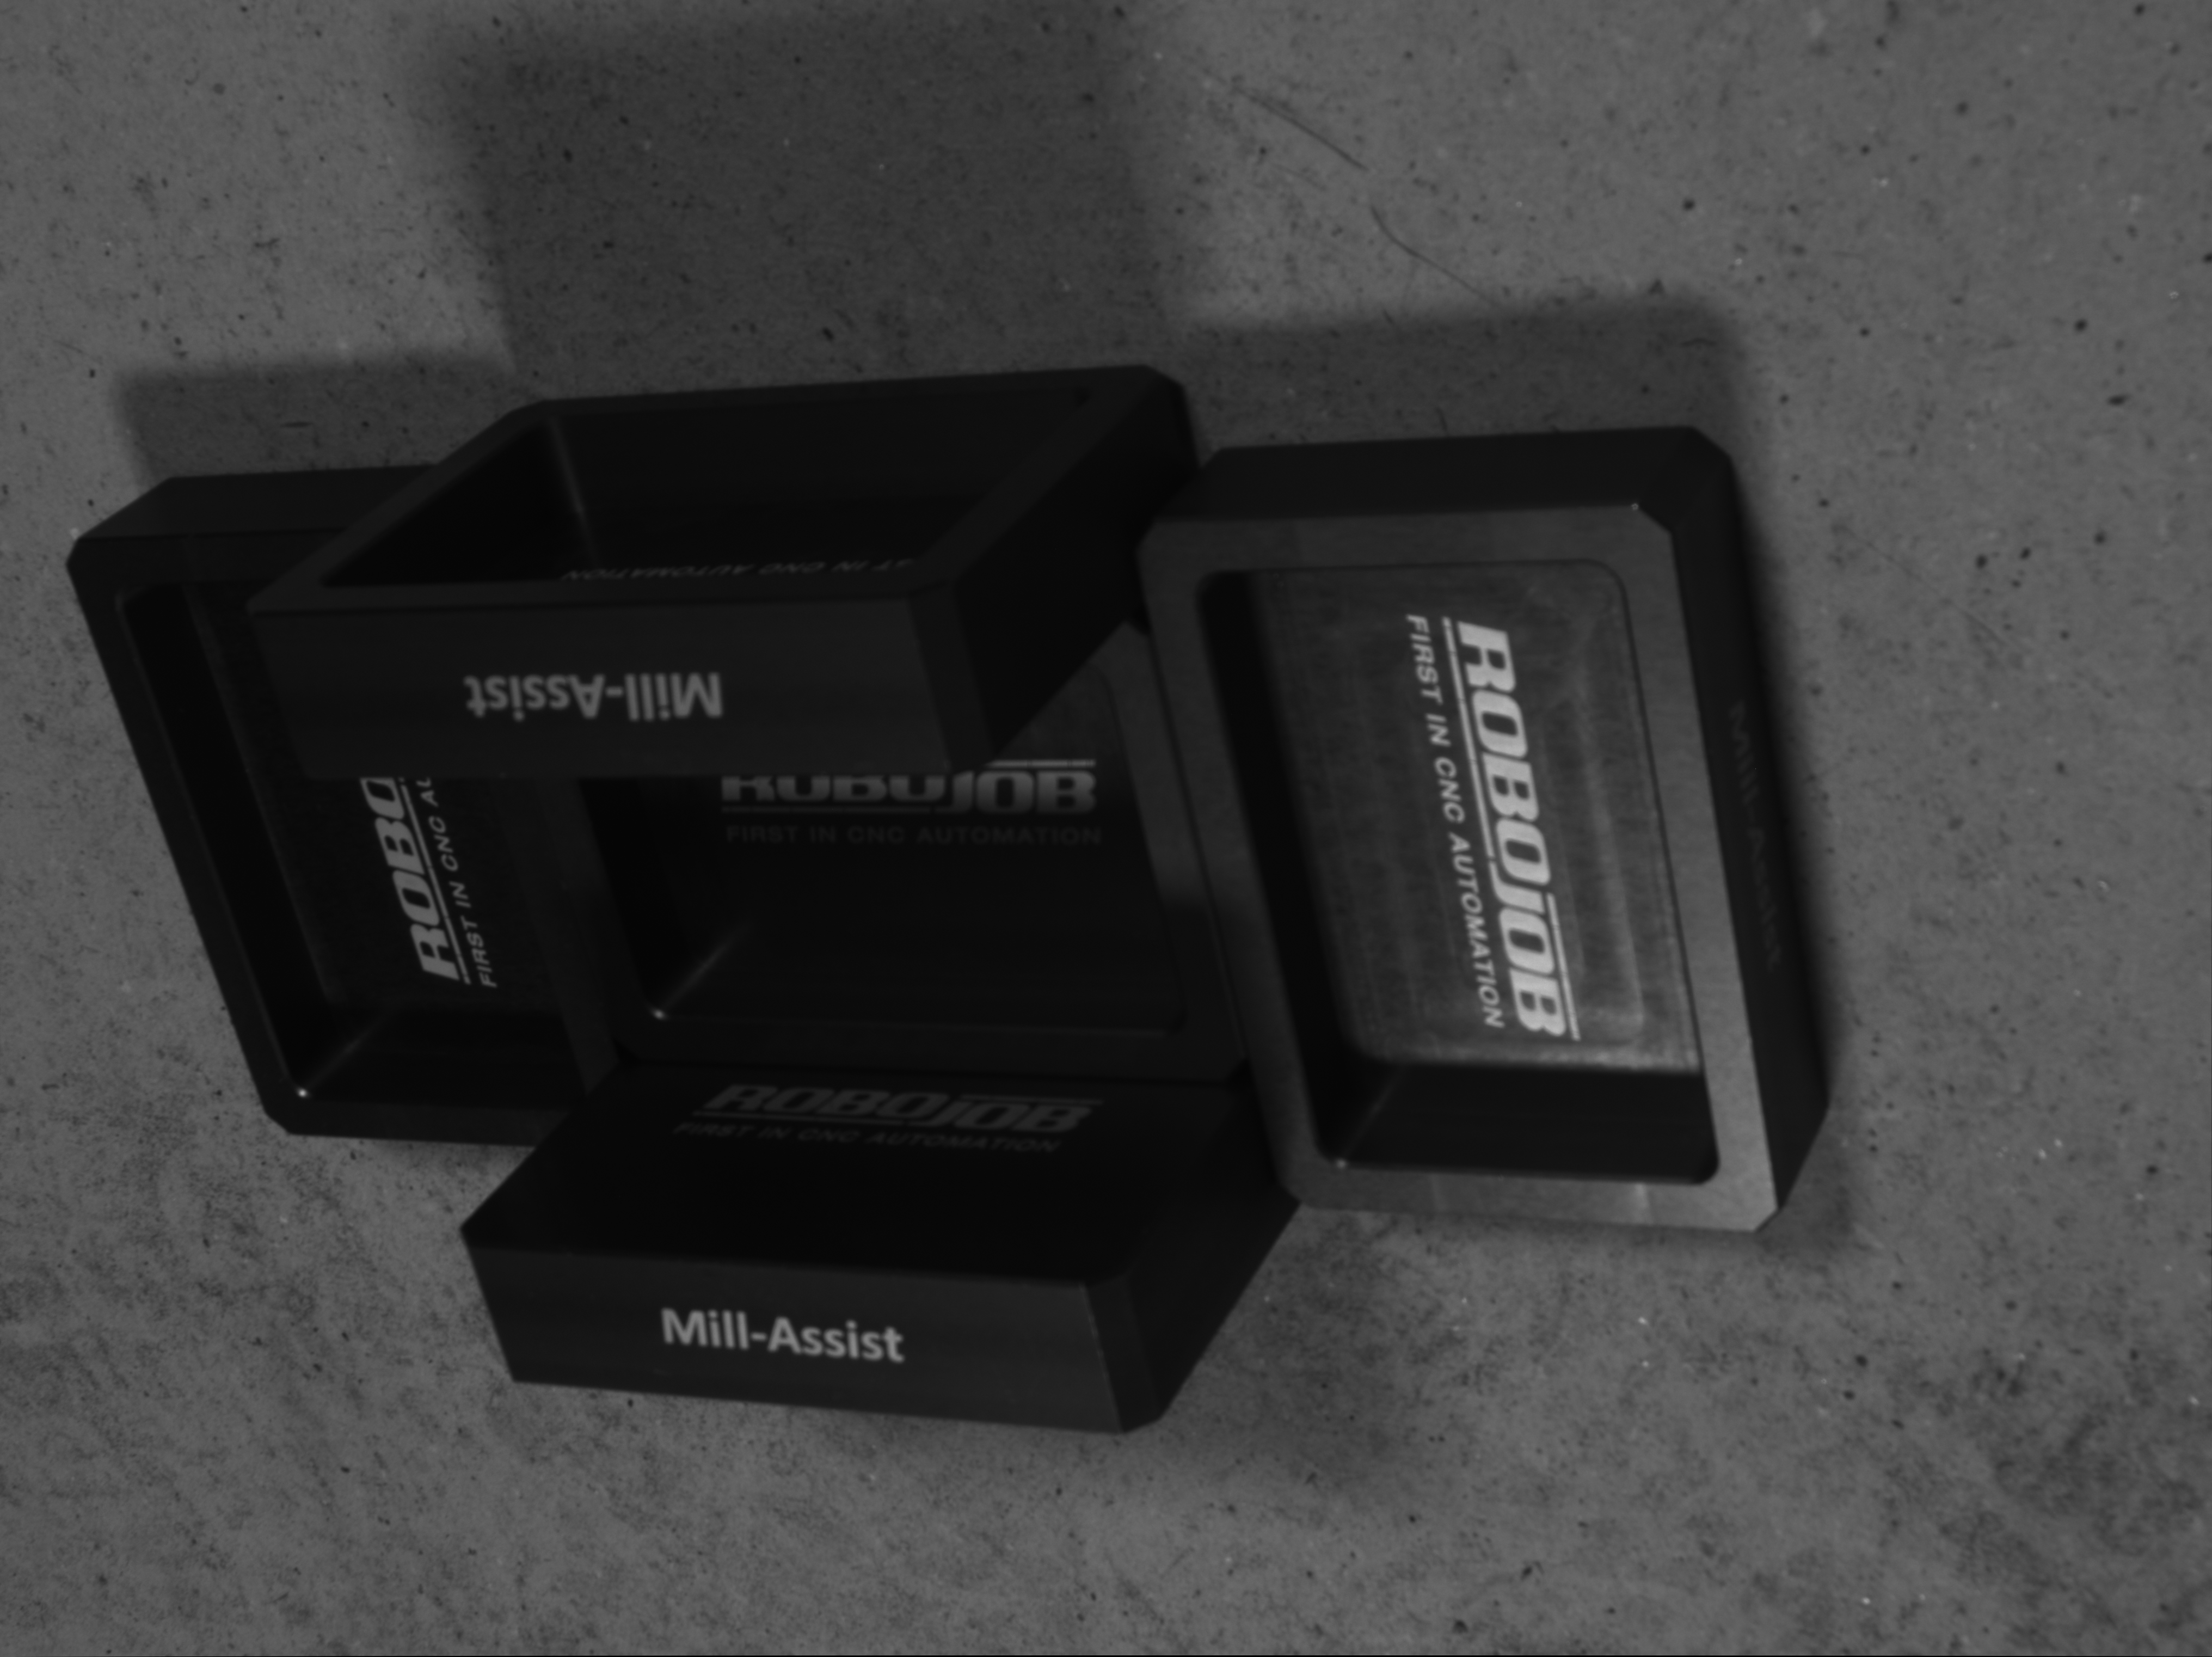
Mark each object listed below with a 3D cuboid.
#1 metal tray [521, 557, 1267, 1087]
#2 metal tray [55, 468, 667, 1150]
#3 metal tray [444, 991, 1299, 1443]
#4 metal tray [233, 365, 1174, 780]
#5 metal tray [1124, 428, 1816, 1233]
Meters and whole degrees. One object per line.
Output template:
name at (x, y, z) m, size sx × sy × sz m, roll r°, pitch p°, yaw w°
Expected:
metal tray at (-0.039, -0.003, 0.646) m, size 0.130 × 0.030 × 0.090 m, roll 1°, pitch 119°, yaw 26°
metal tray at (-0.136, -0.002, 0.695) m, size 0.090 × 0.030 × 0.130 m, roll 0°, pitch 118°, yaw 26°
metal tray at (-0.038, 0.065, 0.647) m, size 0.130 × 0.090 × 0.030 m, roll 0°, pitch 118°, yaw 27°
metal tray at (-0.063, -0.042, 0.597) m, size 0.130 × 0.090 × 0.030 m, roll 0°, pitch 118°, yaw 27°
metal tray at (0.061, 0.002, 0.599) m, size 0.090 × 0.030 × 0.130 m, roll 0°, pitch 118°, yaw 26°
